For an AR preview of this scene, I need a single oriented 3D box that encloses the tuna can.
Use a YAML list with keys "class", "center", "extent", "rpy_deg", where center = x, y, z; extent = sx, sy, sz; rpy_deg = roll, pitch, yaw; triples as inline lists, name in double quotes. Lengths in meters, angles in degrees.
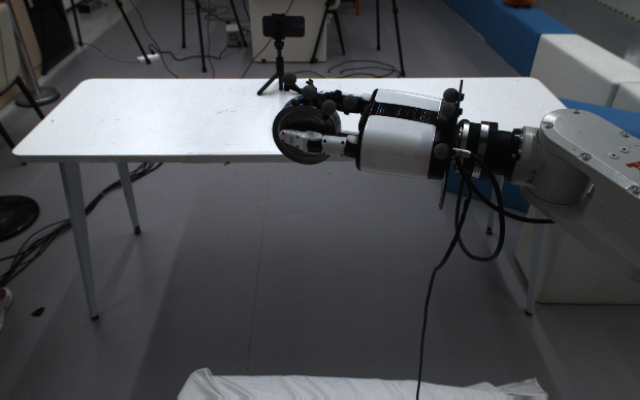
- class: "tuna can"
  center: [-0.015, -0.091, 0.631]
  extent: [0.085, 0.085, 0.034]
  rpy_deg: [9, 35, 10]
